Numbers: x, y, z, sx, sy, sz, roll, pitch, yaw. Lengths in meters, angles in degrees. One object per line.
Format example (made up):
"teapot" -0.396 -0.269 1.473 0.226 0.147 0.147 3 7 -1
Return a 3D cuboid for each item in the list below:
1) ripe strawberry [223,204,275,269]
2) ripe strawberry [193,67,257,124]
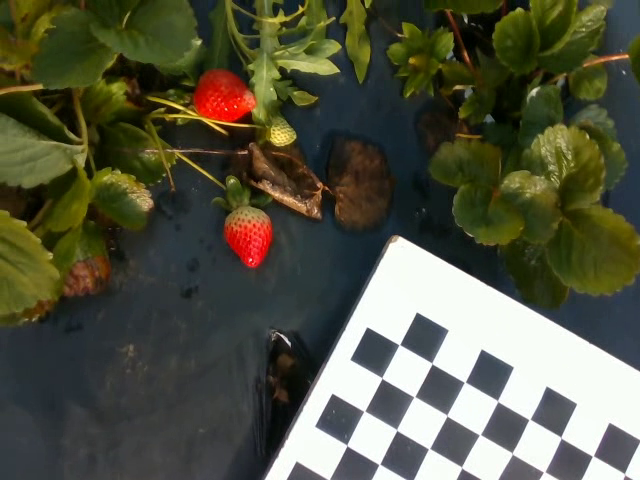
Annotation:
"ripe strawberry" -0.047 -0.003 0.428 0.035 0.043 0.029 -9 -4 -6
"ripe strawberry" -0.059 -0.092 0.426 0.049 0.039 0.032 12 -3 37
